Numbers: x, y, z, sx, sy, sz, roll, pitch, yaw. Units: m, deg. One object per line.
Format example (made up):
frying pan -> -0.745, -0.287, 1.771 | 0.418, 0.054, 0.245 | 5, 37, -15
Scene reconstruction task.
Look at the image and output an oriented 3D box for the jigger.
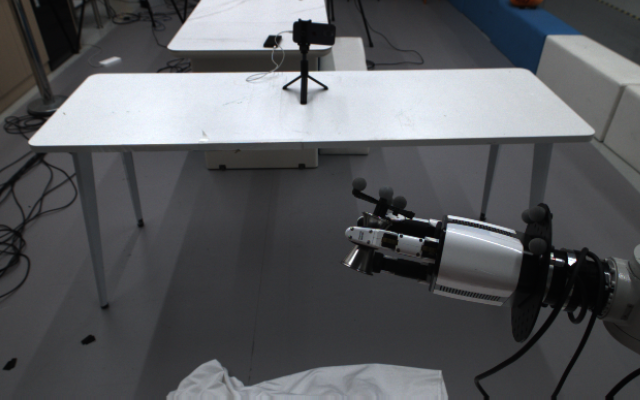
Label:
jigger -> 0.056, 0.050, 0.585 | 0.043, 0.071, 0.043 | 24, -3, 1
